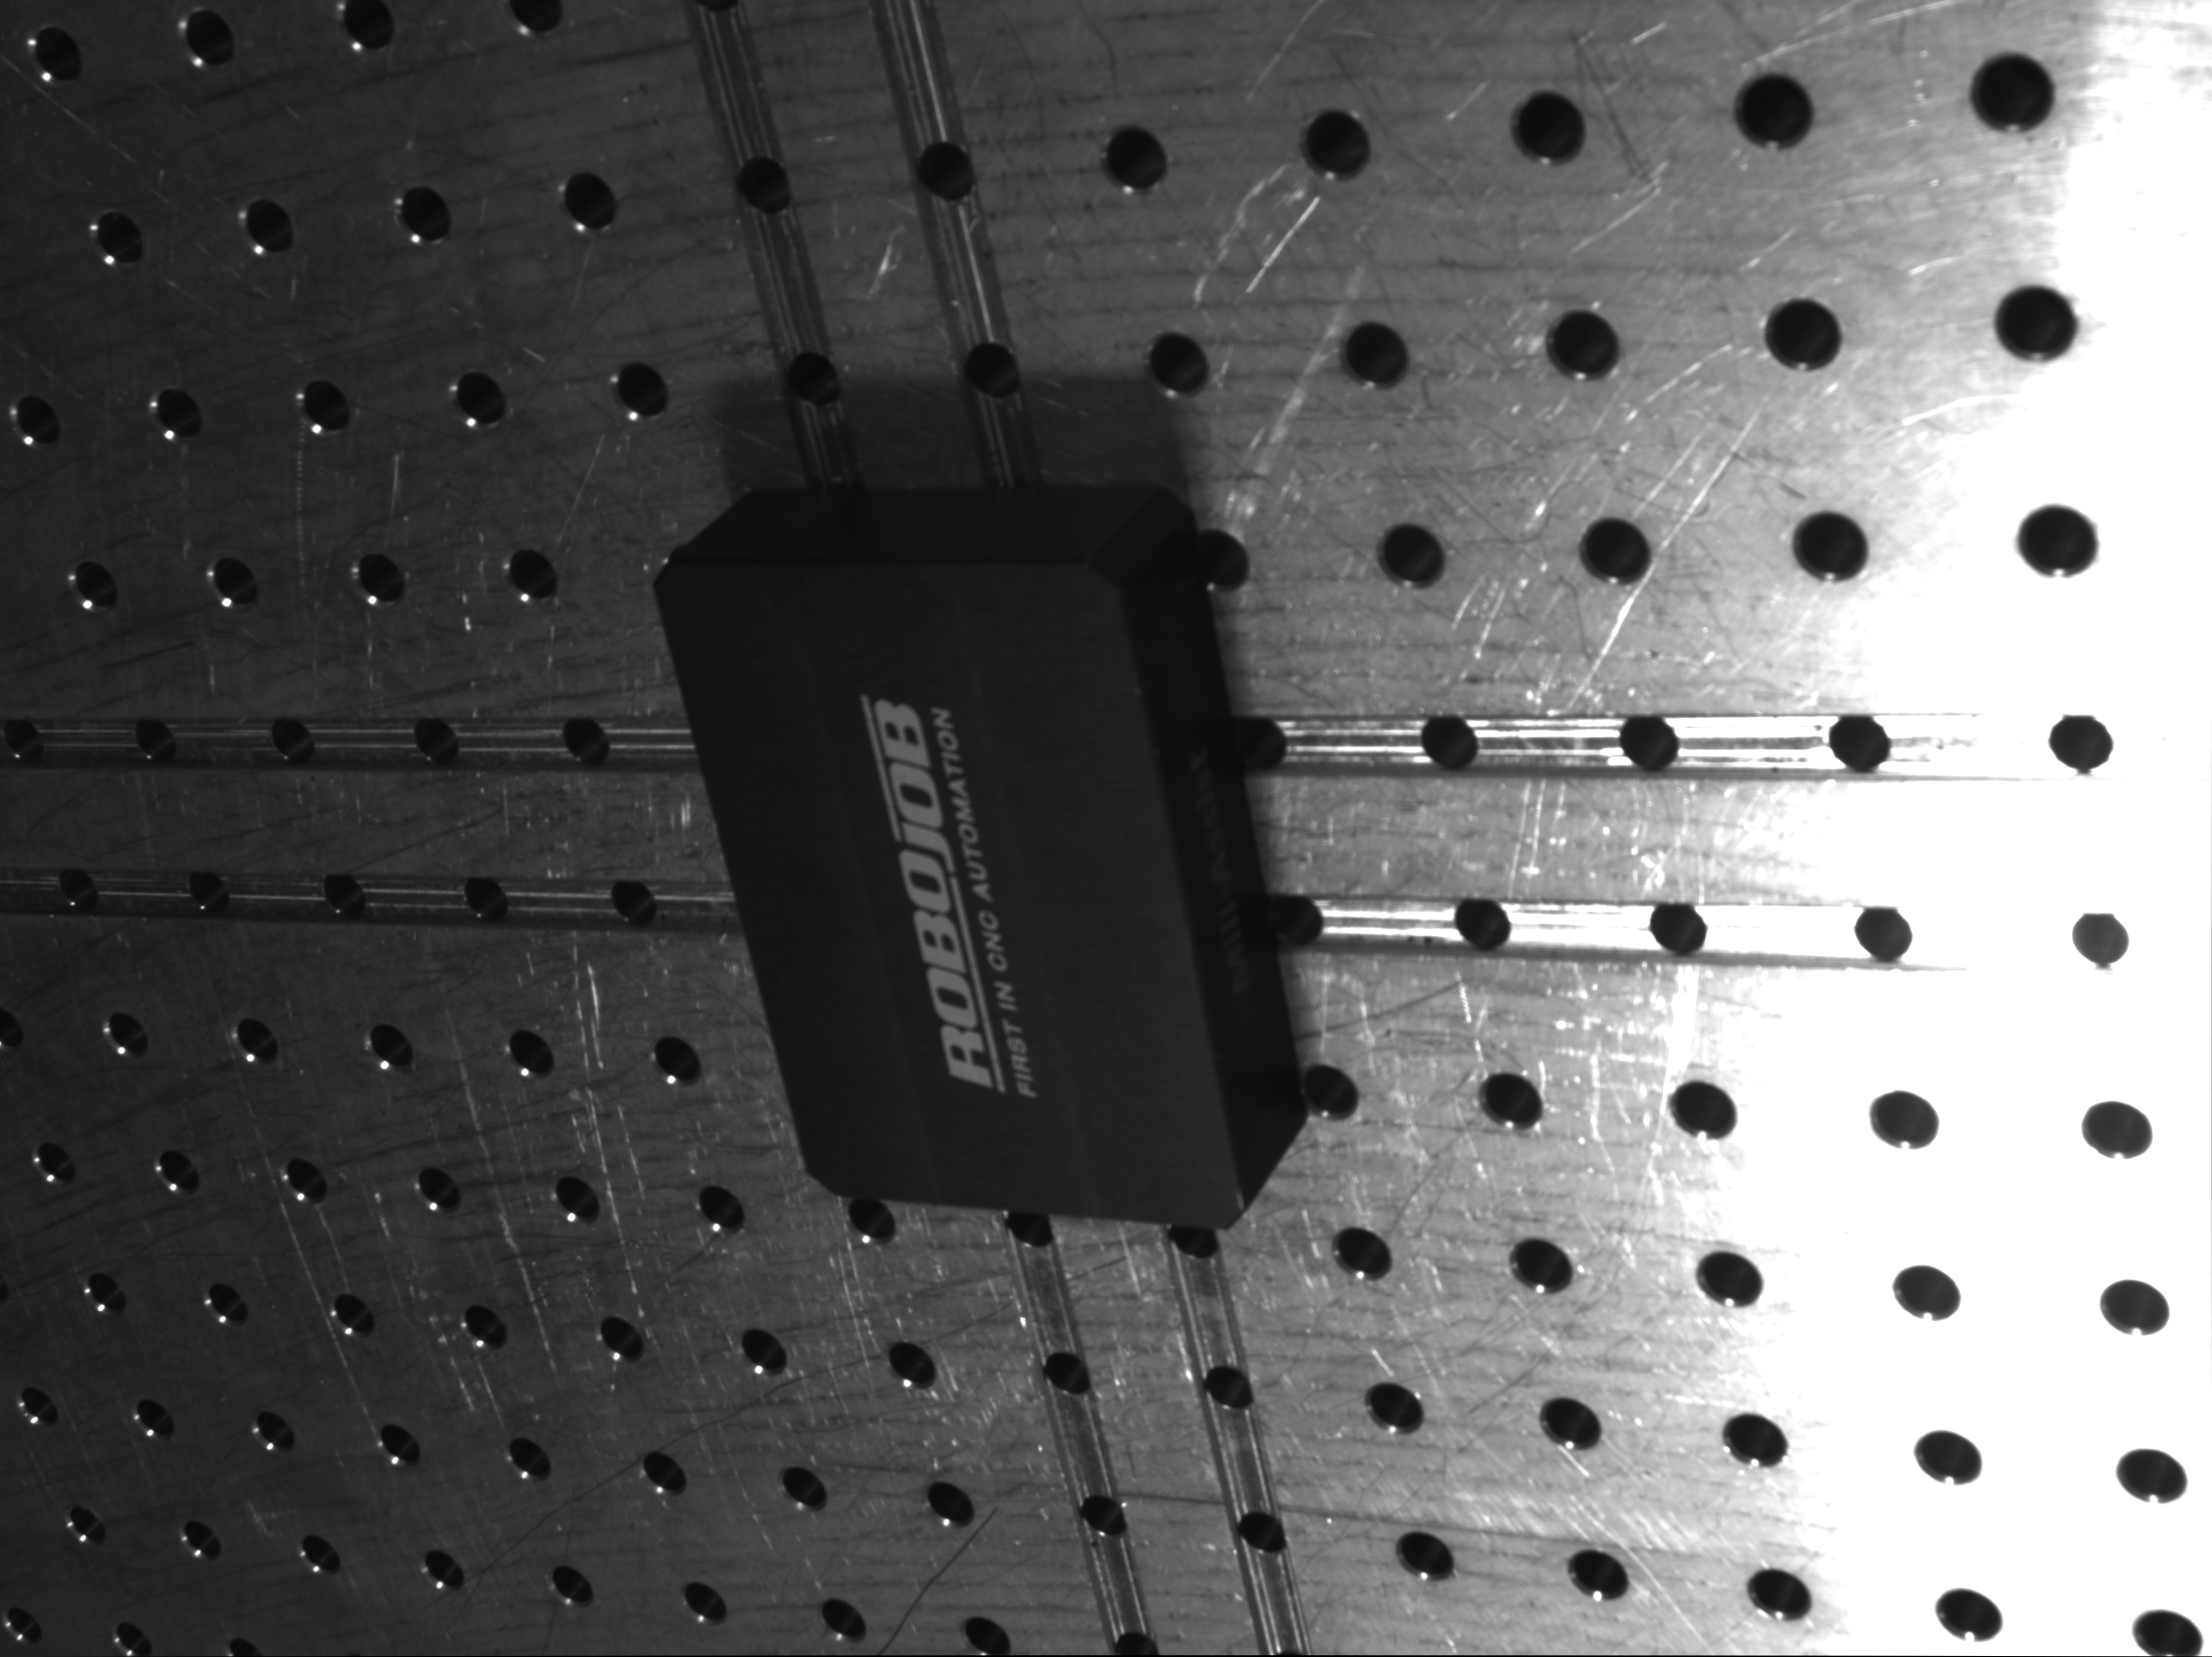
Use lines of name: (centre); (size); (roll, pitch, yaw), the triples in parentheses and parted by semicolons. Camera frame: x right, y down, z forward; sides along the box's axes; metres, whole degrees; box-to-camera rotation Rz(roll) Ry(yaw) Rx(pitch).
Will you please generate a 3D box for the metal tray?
metal tray: (-0.024, 0.006, 0.646); (0.090, 0.030, 0.130); (2, 119, 26)
